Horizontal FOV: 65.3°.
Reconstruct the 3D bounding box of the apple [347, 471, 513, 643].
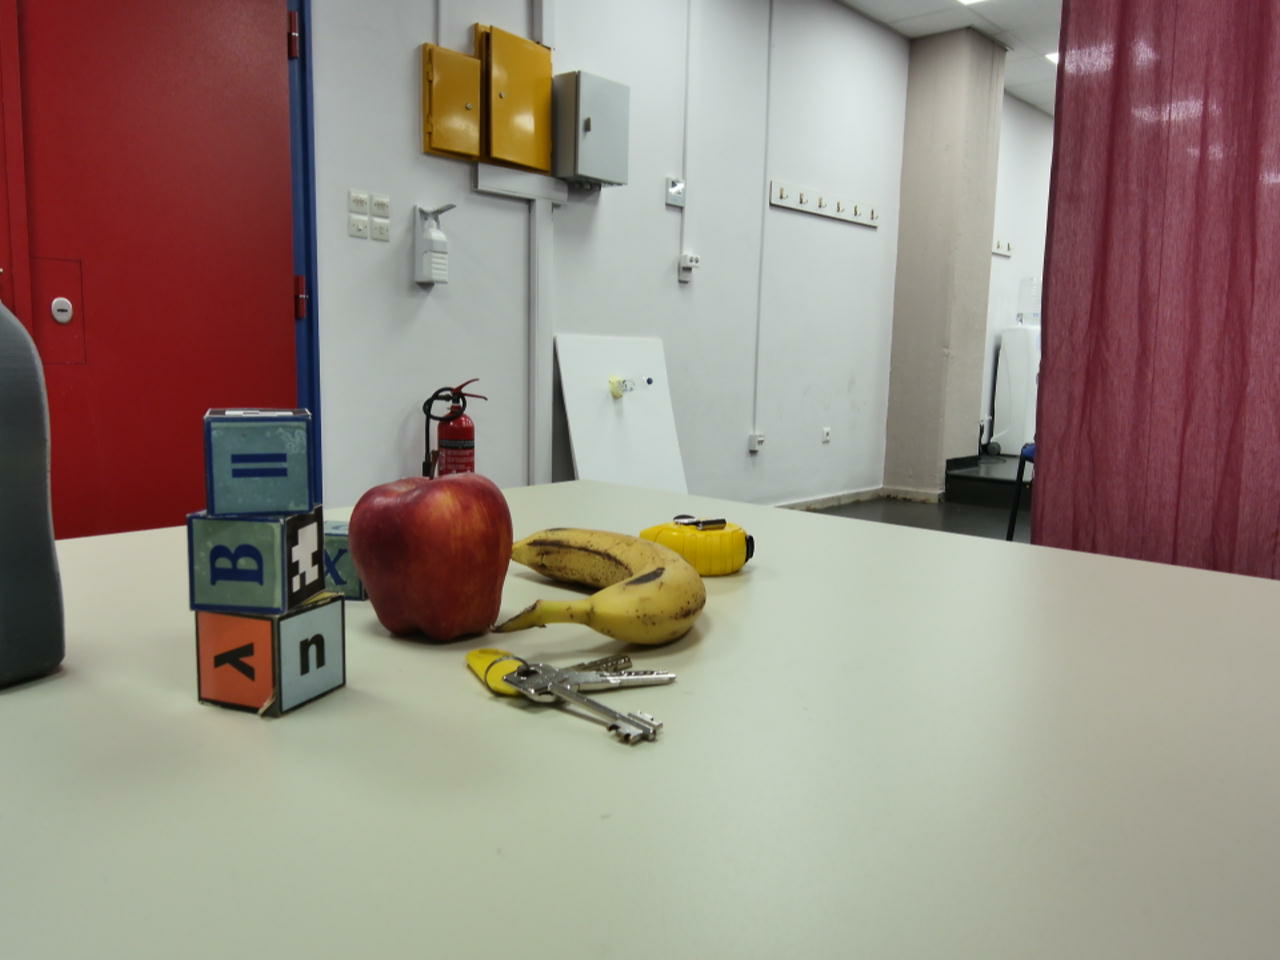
[{"bbox_3d":[-0.103,0.032,0.499,0.083,0.090,0.083,2,6,0],"label":"apple"}]
